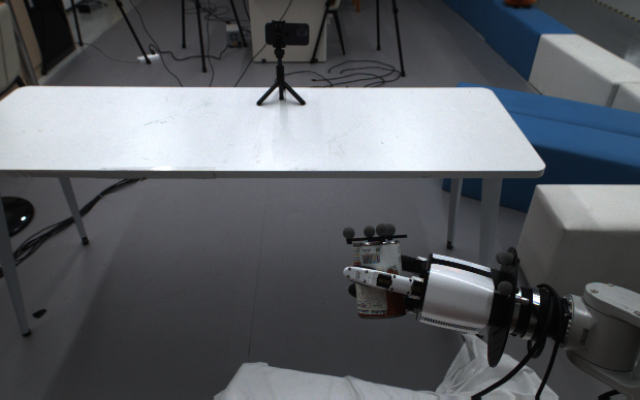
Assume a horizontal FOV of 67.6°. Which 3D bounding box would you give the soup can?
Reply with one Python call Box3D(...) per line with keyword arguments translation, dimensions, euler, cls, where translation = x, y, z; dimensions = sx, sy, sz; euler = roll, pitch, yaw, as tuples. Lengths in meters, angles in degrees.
Box3D(translation=(0.084, 0.109, 0.673), dimensions=(0.067, 0.101, 0.067), euler=(-5, -5, 0), cls="soup can")
